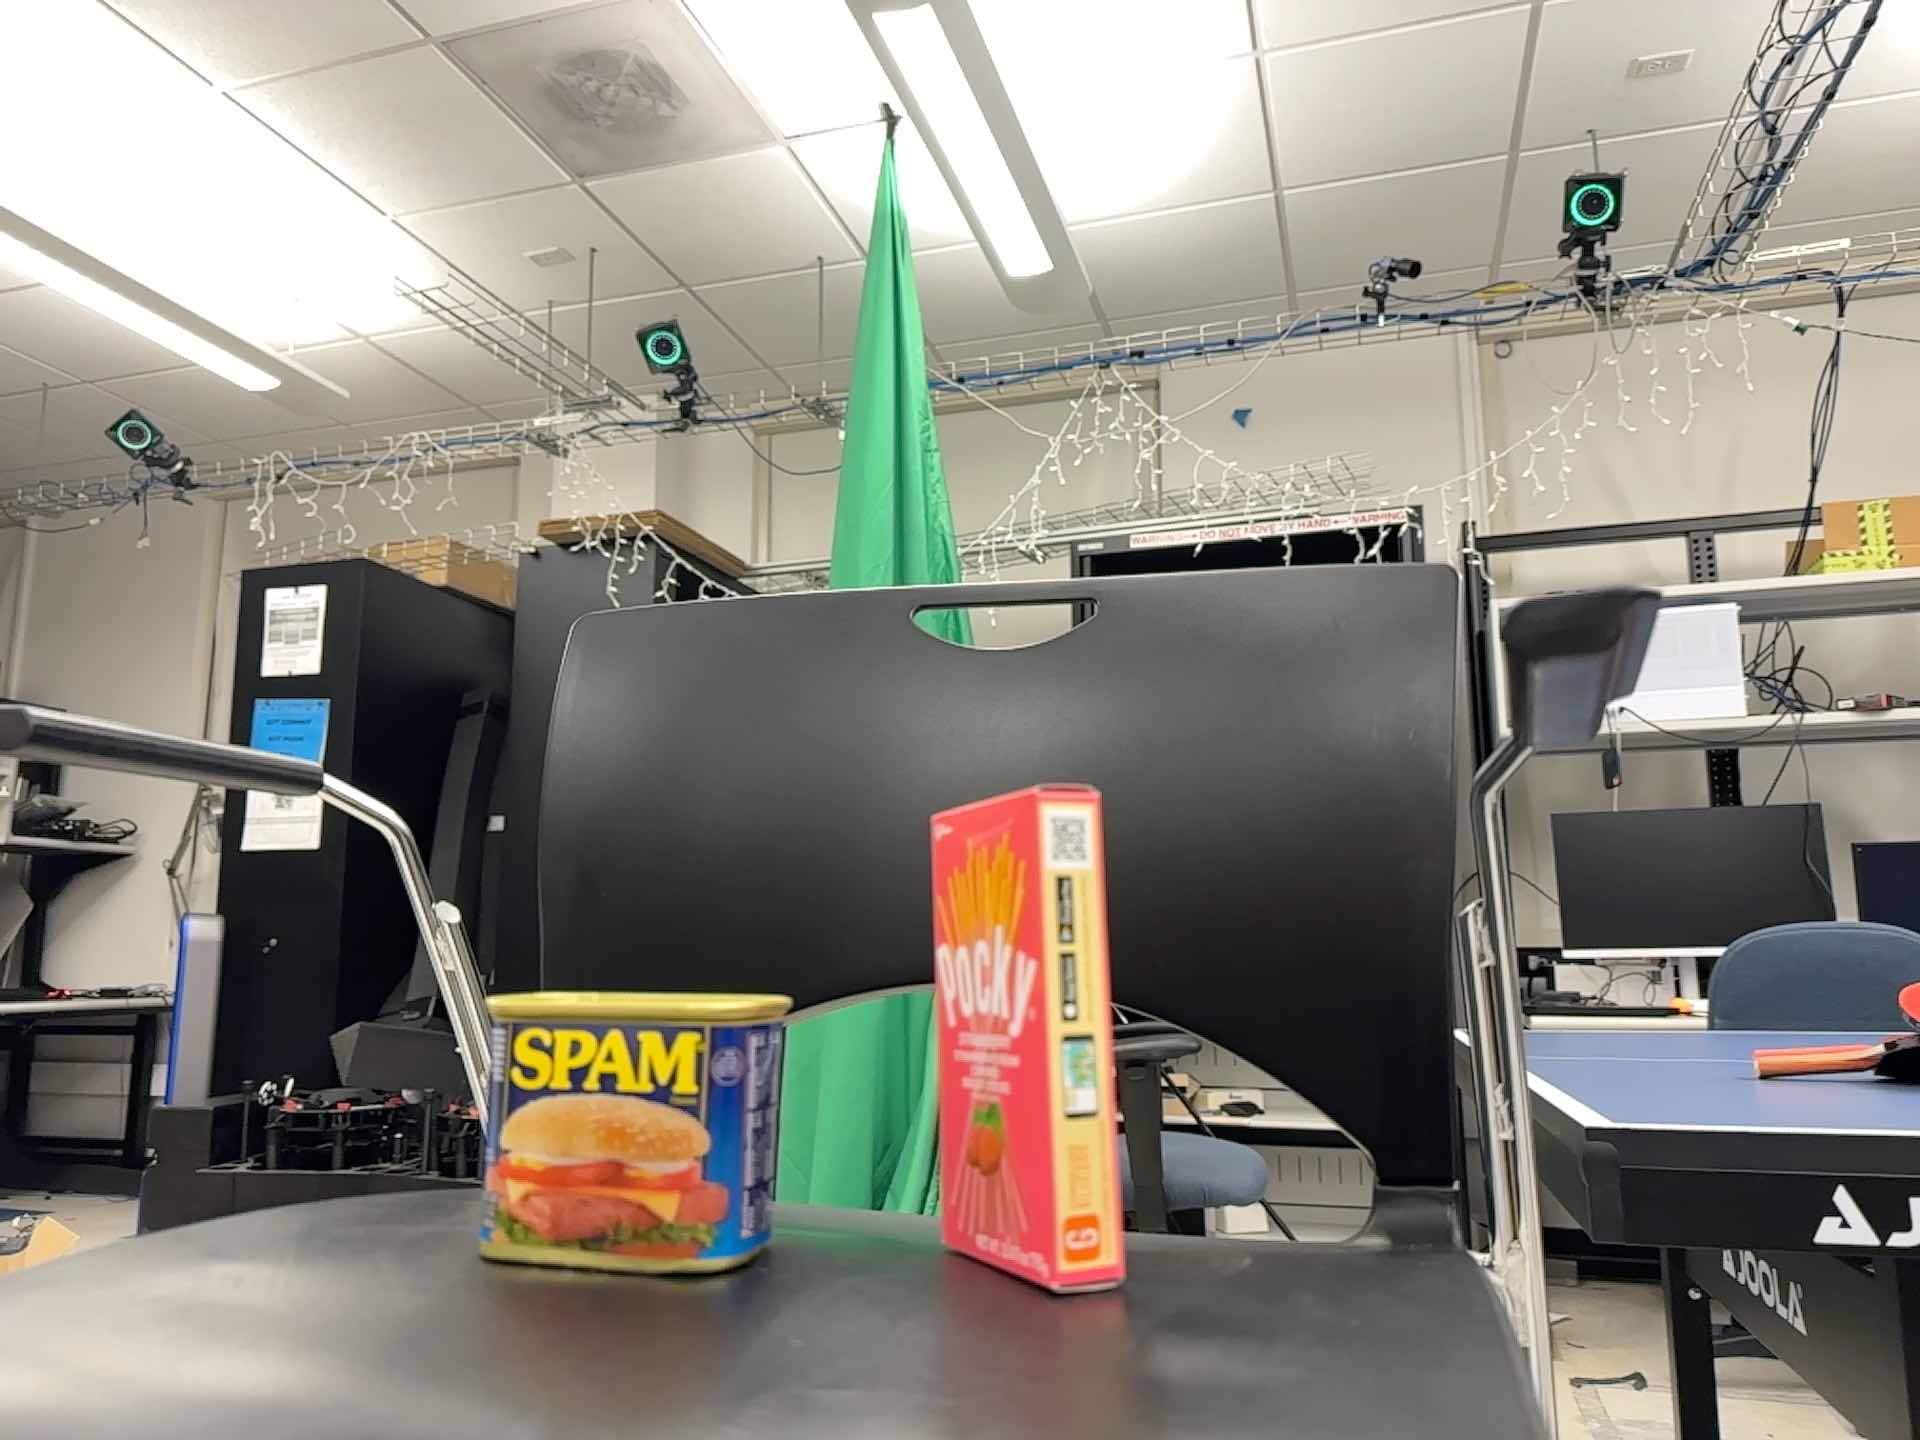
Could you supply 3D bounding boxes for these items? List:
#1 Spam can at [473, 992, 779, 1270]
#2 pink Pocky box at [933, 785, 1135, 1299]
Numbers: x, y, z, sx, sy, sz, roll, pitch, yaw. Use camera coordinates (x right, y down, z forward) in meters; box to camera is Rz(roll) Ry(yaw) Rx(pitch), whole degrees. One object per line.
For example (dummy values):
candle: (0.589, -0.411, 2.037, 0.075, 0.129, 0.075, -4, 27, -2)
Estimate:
Spam can: (-0.116, 0.138, 0.465, 0.100, 0.083, 0.056, -3, -11, 21)
pink Pocky box: (0.021, 0.104, 0.451, 0.029, 0.154, 0.084, 3, -13, -24)
